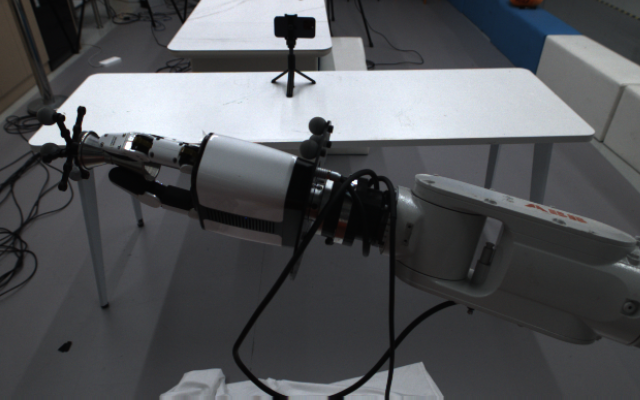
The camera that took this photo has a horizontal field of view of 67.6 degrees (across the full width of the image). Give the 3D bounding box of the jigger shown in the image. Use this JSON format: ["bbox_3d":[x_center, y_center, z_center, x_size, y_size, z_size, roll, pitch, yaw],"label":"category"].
[{"bbox_3d":[-0.196,-0.048,0.494,0.071,0.043,0.043,8,35,2],"label":"jigger"}]
